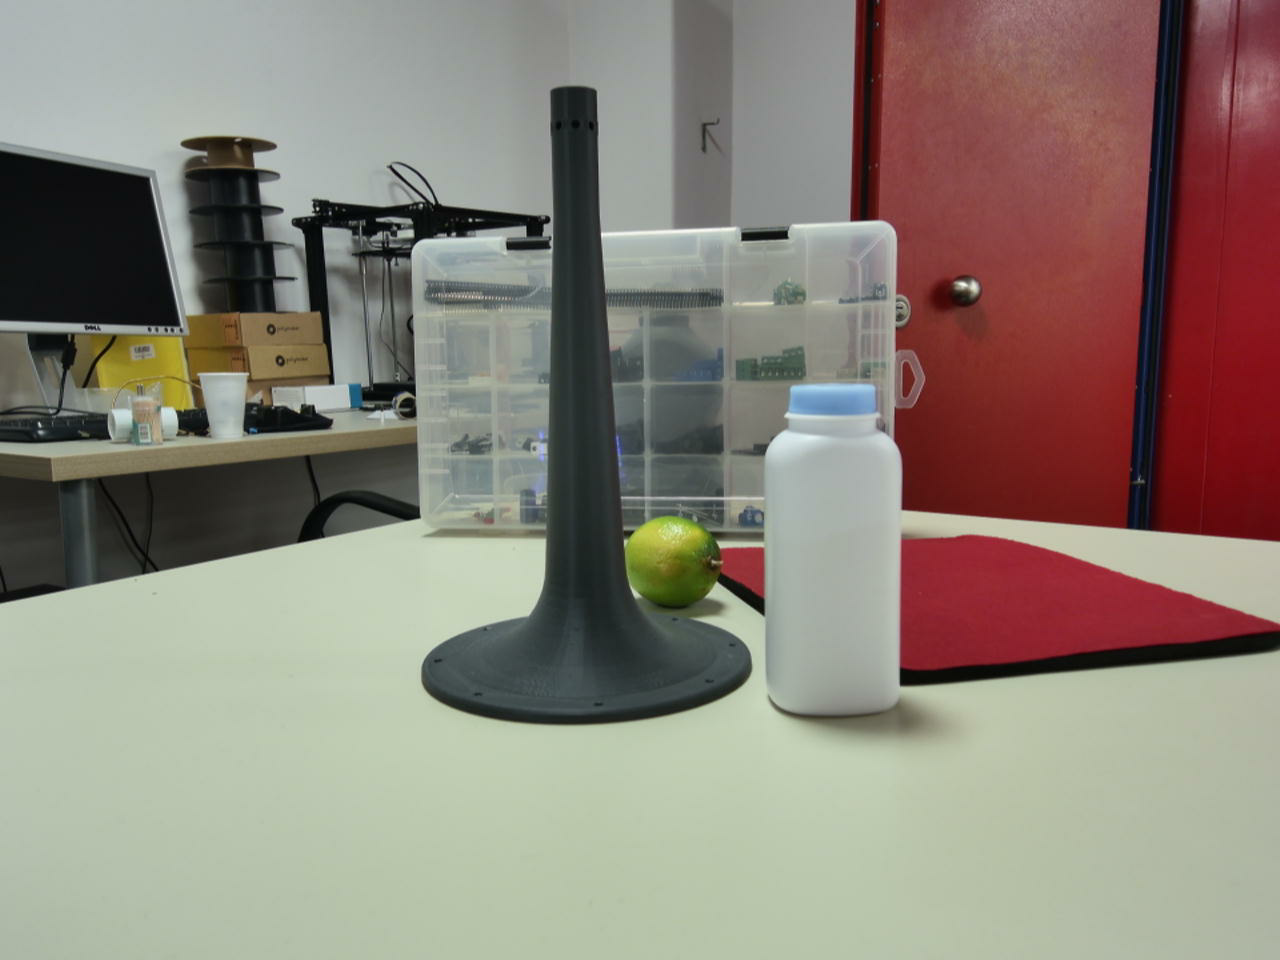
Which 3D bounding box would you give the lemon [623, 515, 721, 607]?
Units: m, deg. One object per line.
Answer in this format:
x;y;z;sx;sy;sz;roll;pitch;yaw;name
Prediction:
0.018;0.045;0.567;0.054;0.050;0.055;-1;6;-4;lemon
